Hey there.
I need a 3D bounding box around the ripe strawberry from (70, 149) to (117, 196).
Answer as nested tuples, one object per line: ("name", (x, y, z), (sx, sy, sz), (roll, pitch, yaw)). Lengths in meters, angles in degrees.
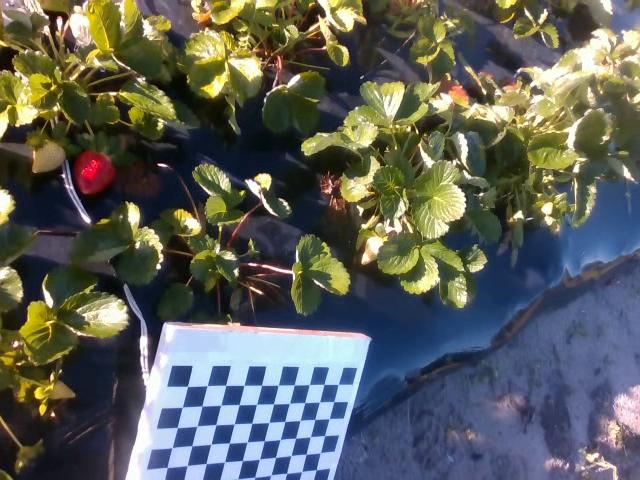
("ripe strawberry", (-0.286, -0.088, 0.769), (0.040, 0.080, 0.062), (-23, -48, 27))
